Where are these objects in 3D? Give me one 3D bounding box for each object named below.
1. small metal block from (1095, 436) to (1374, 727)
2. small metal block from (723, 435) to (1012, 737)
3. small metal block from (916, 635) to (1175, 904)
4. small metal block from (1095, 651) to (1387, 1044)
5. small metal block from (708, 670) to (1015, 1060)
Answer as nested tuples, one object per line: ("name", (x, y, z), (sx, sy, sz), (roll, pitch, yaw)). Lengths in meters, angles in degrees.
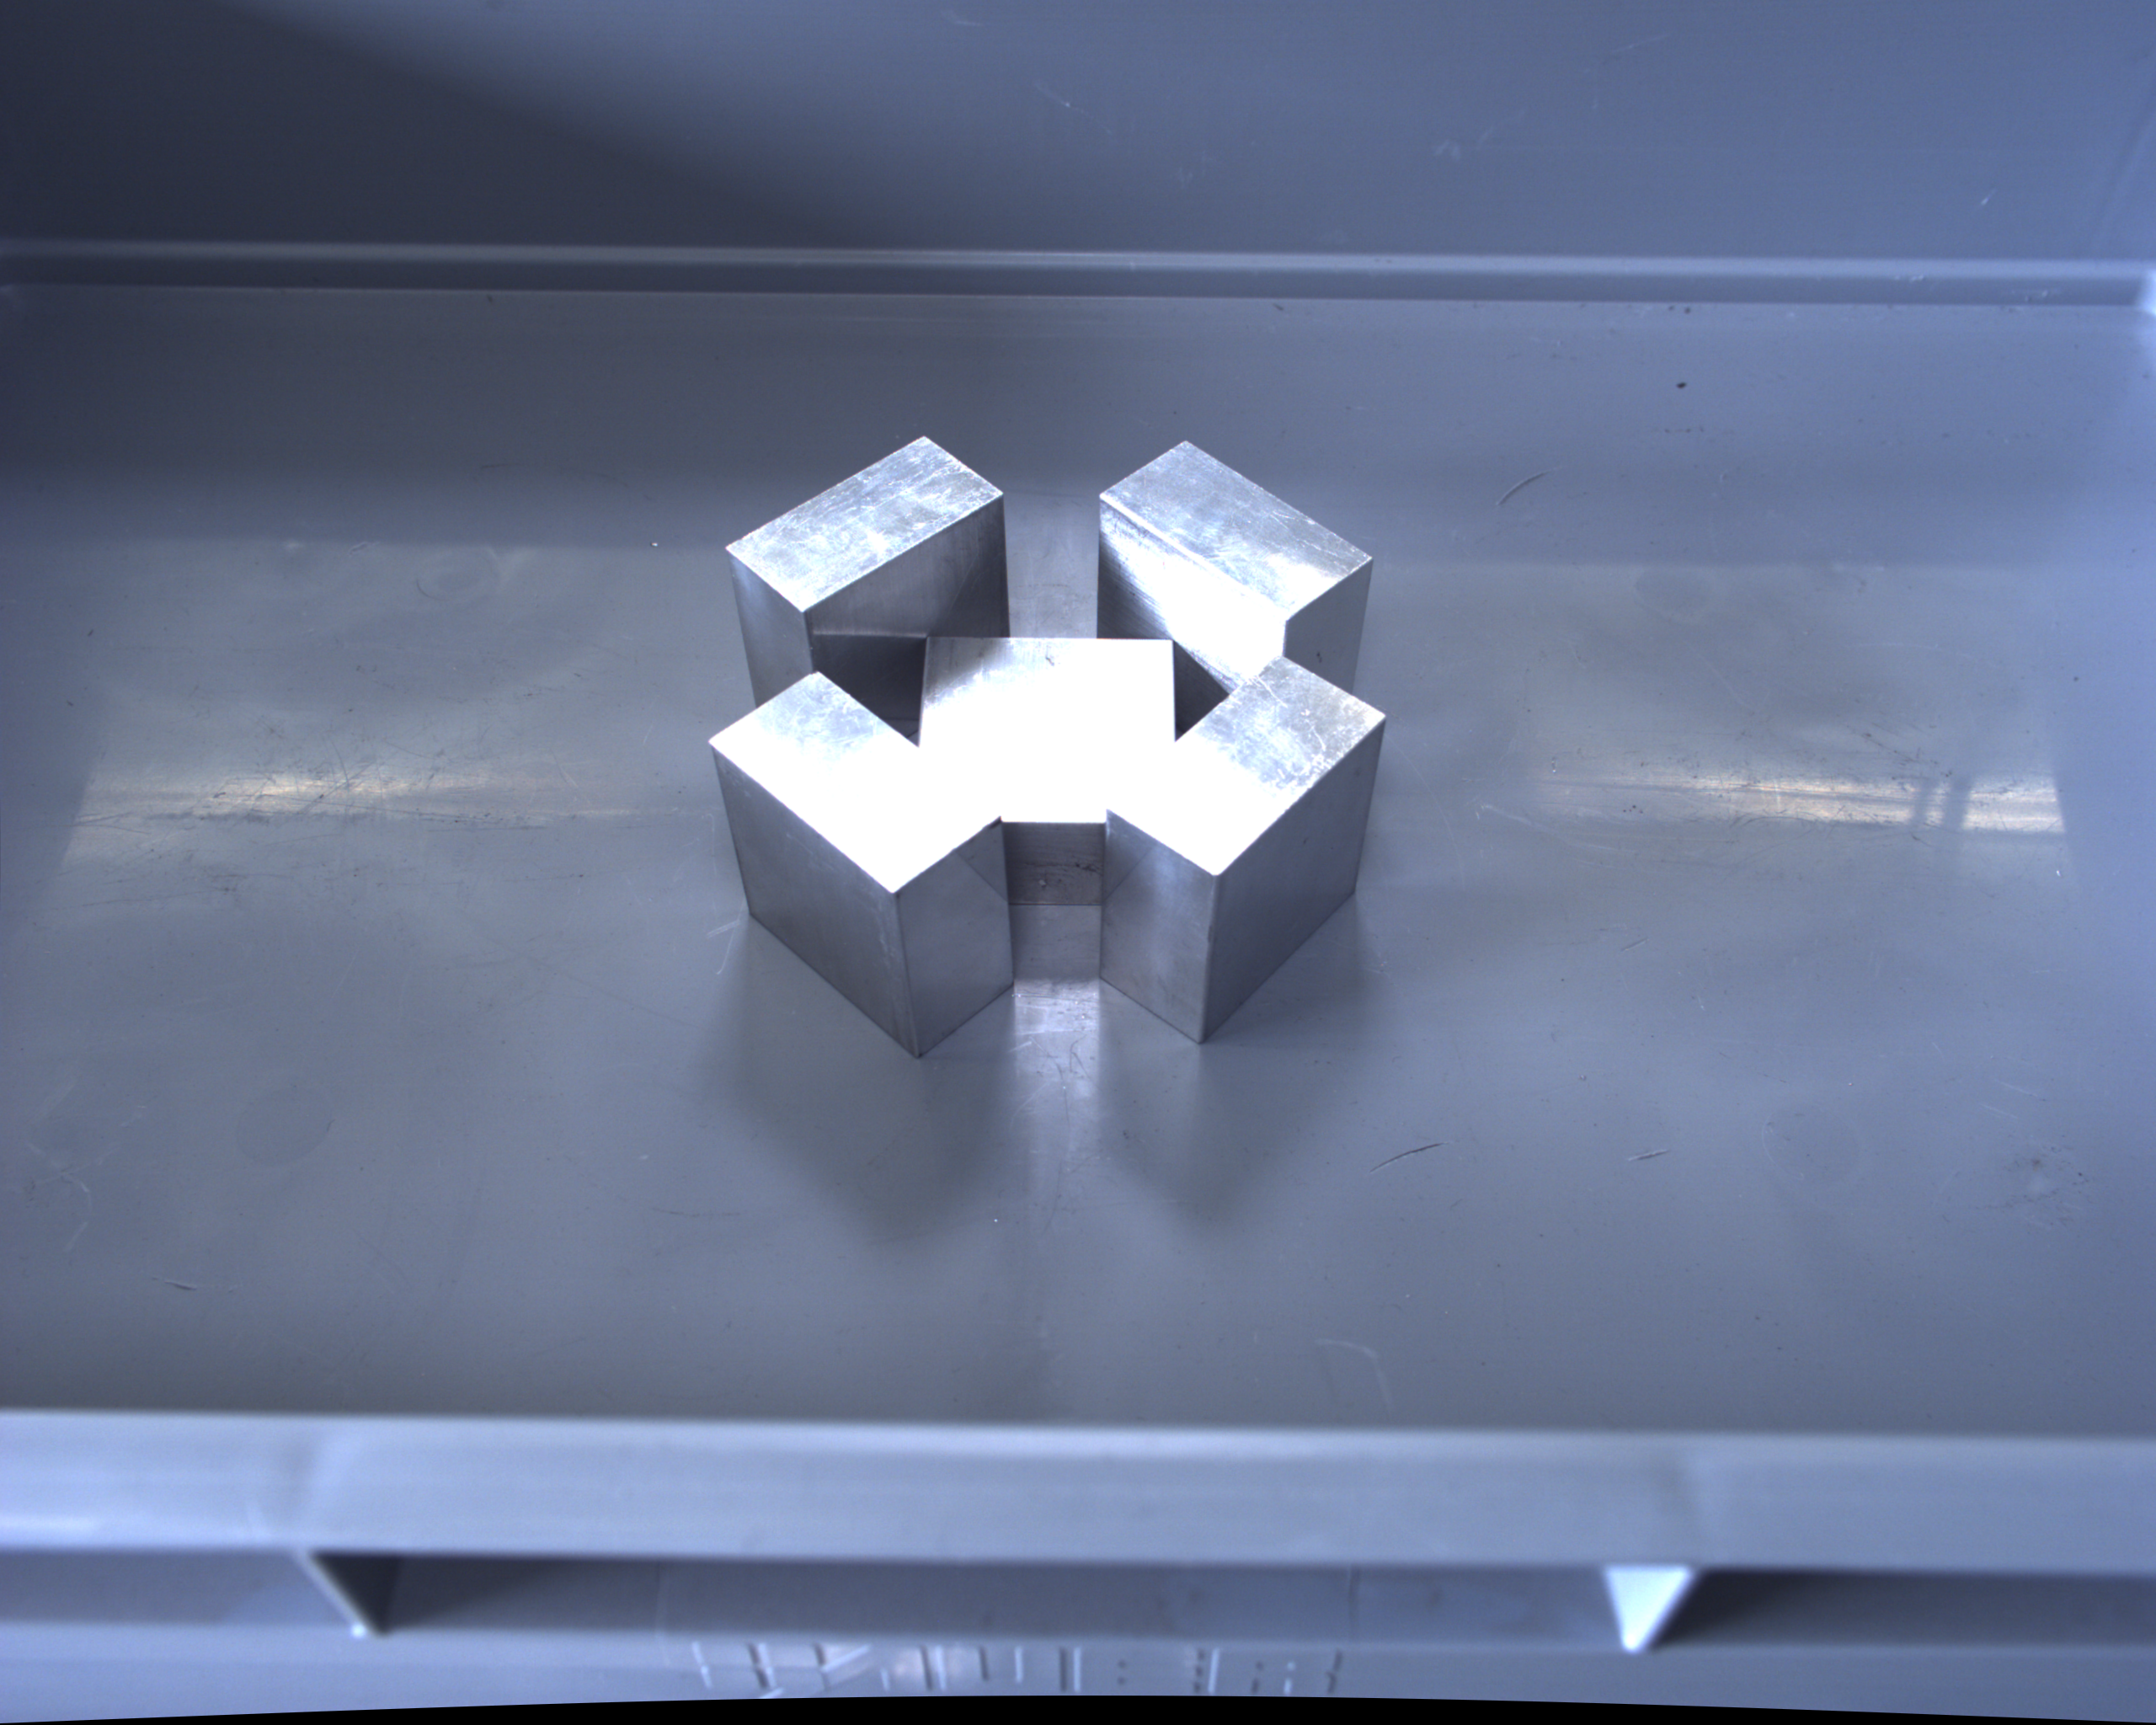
("small metal block", (0.030, -0.051, 0.429), (0.025, 0.050, 0.050), (-37, 60, -28))
("small metal block", (-0.041, -0.052, 0.429), (0.050, 0.050, 0.025), (-35, 58, -25))
("small metal block", (-0.006, -0.019, 0.418), (0.050, 0.025, 0.050), (1, 50, 0))
("small metal block", (0.030, -0.003, 0.388), (0.025, 0.050, 0.050), (34, 57, 24))
("small metal block", (-0.039, 0.001, 0.386), (0.025, 0.050, 0.050), (-38, 59, -26))
